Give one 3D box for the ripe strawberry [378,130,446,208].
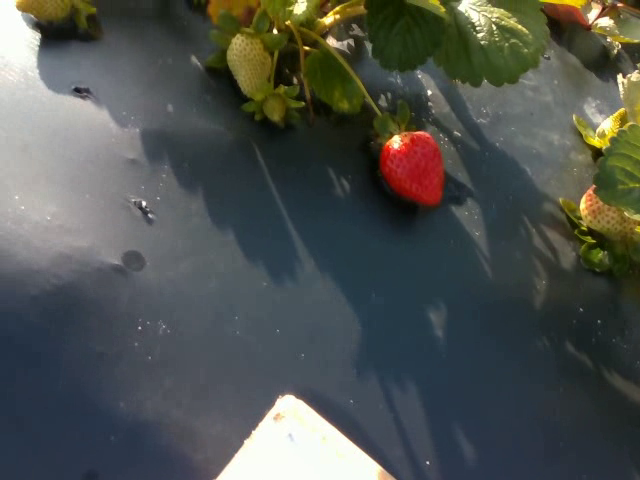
[{"bbox_3d":[0.044,-0.029,0.294,0.030,0.045,0.033,-23,-32,8],"label":"ripe strawberry"}]
